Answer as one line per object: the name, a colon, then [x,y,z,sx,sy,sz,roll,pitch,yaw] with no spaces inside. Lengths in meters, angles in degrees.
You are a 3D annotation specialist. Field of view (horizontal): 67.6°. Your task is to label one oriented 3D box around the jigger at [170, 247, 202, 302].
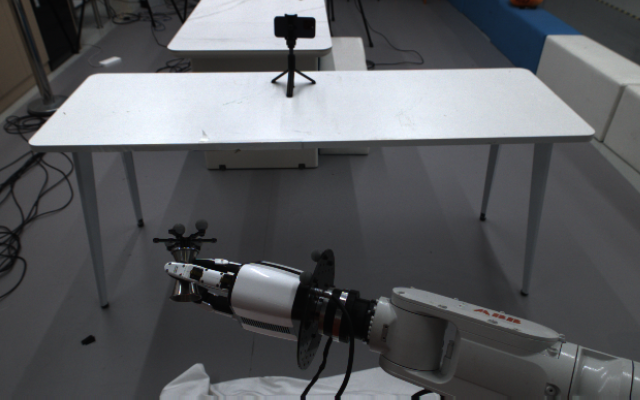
jigger: [-0.190,0.106,0.682,0.043,0.043,0.071,-3,66,-8]
